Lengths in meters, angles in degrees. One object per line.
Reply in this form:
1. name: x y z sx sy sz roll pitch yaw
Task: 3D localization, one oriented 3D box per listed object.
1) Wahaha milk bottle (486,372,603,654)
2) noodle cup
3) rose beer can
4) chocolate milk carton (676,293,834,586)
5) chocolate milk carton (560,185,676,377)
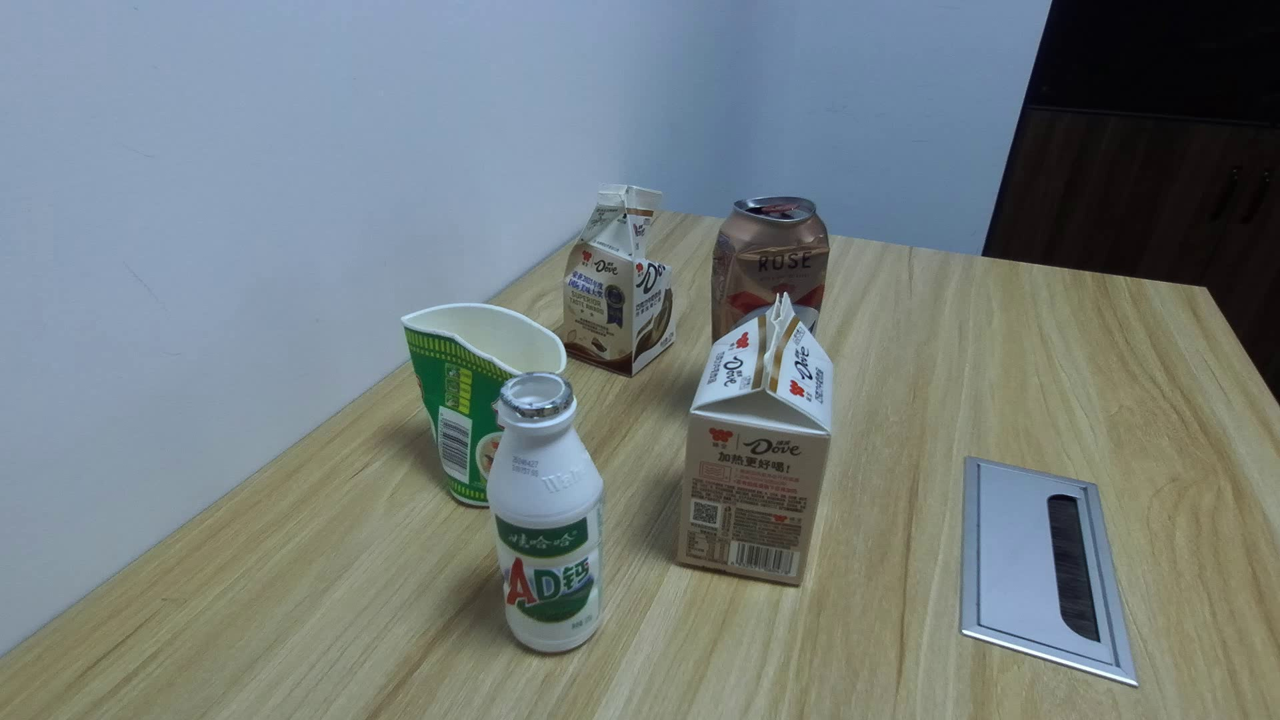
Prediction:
1. Wahaha milk bottle: -0.044 0.075 0.341 0.056 0.148 0.056 -1 31 1
2. noodle cup: -0.096 0.032 0.453 0.070 0.111 0.114 -20 40 -28
3. rose beer can: 0.088 -0.030 0.496 0.076 0.167 0.065 -1 30 2
4. chocolate milk carton: 0.067 0.041 0.392 0.074 0.148 0.075 9 31 11
5. chocolate milk carton: -0.015 -0.074 0.580 0.073 0.155 0.076 19 35 26
